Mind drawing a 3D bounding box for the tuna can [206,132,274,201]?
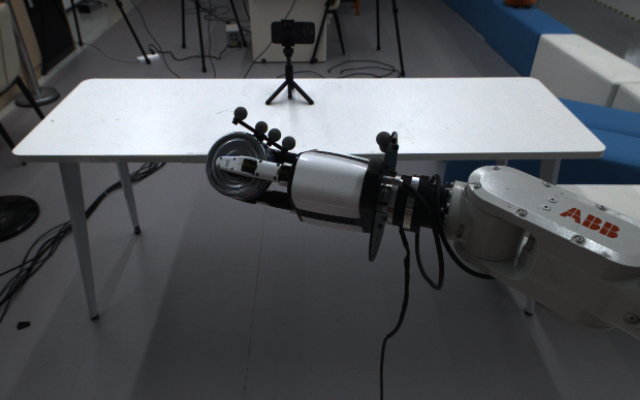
[{"bbox_3d":[-0.100,-0.037,0.623,0.085,0.085,0.034,12,-5,15],"label":"tuna can"}]
